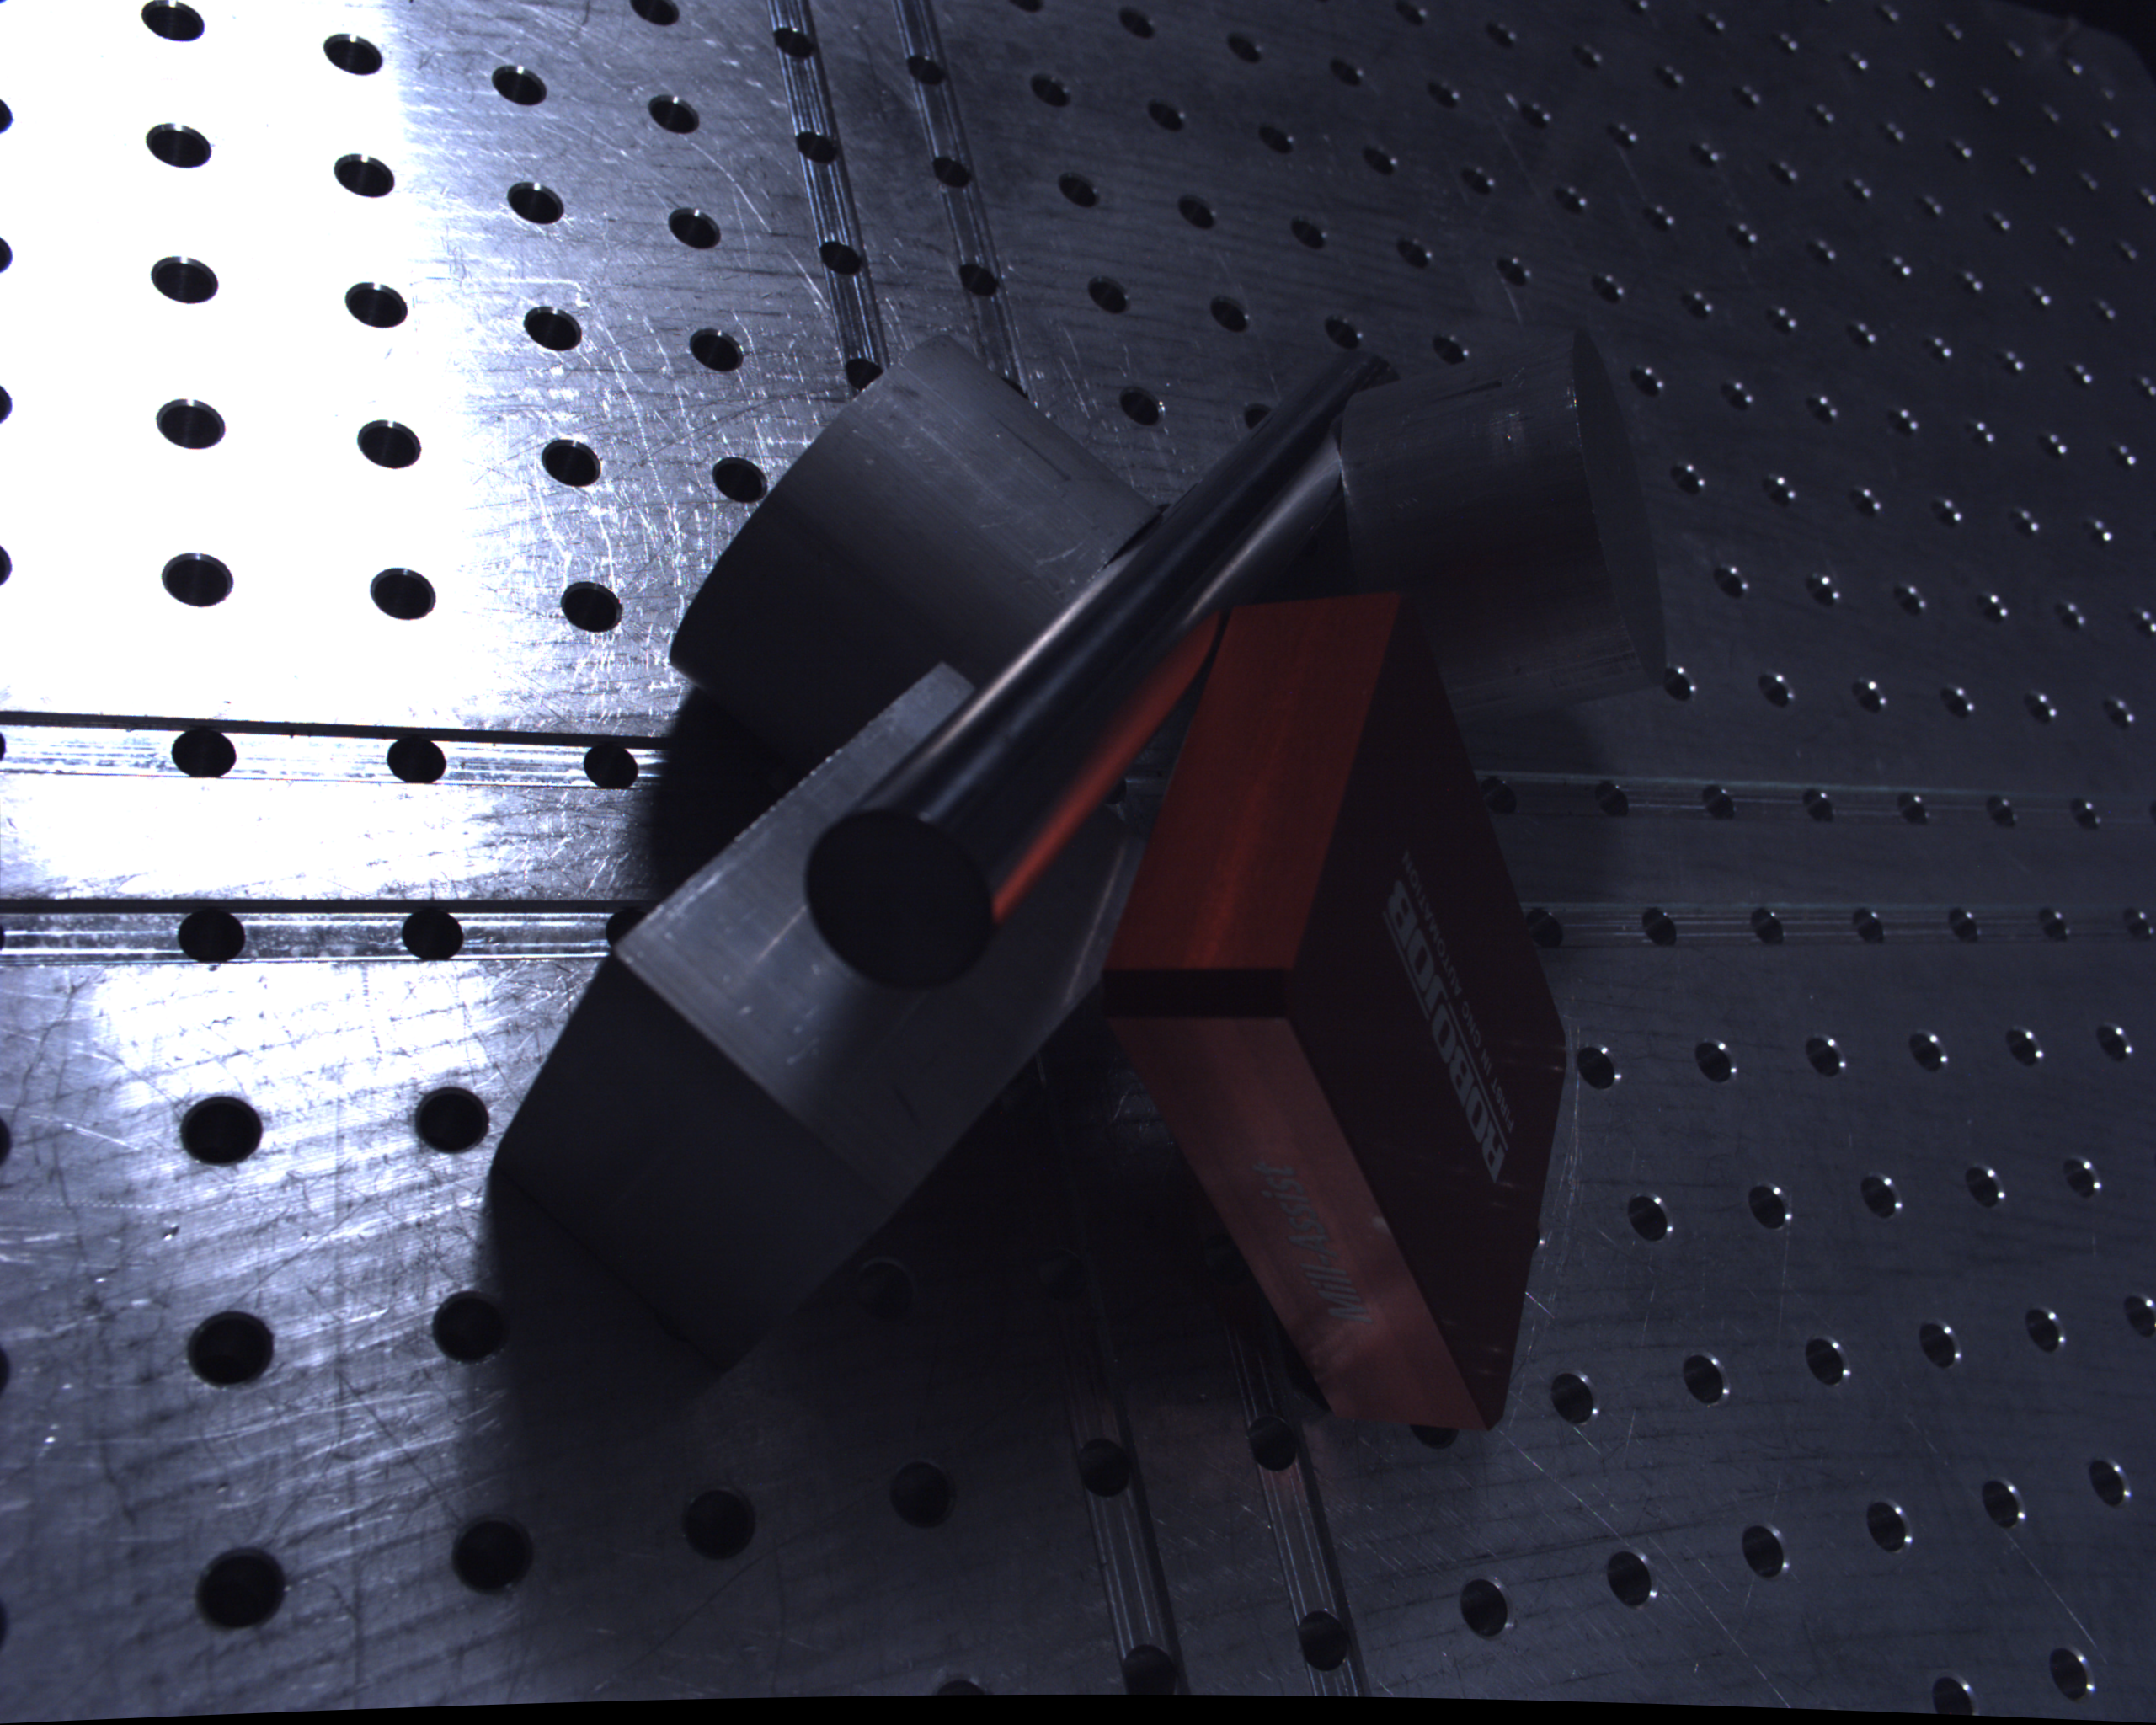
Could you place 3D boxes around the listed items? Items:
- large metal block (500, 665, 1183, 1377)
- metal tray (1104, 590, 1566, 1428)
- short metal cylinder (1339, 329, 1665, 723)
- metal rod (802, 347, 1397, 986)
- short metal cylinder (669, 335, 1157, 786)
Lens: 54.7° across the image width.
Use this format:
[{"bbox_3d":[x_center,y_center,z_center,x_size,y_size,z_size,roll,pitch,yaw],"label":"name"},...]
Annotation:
[{"bbox_3d":[-0.038,0.026,0.337,0.050,0.080,0.080,43,51,1],"label":"large metal block"},{"bbox_3d":[0.052,0.028,0.366,0.130,0.030,0.090,61,37,-41],"label":"metal tray"},{"bbox_3d":[0.096,-0.073,0.465,0.080,0.050,0.080,40,45,-55],"label":"short metal cylinder"},{"bbox_3d":[0.023,-0.056,0.387,0.025,0.025,0.301,40,30,-2],"label":"metal rod"},{"bbox_3d":[-0.030,-0.051,0.388,0.050,0.080,0.080,40,51,-2],"label":"short metal cylinder"}]
